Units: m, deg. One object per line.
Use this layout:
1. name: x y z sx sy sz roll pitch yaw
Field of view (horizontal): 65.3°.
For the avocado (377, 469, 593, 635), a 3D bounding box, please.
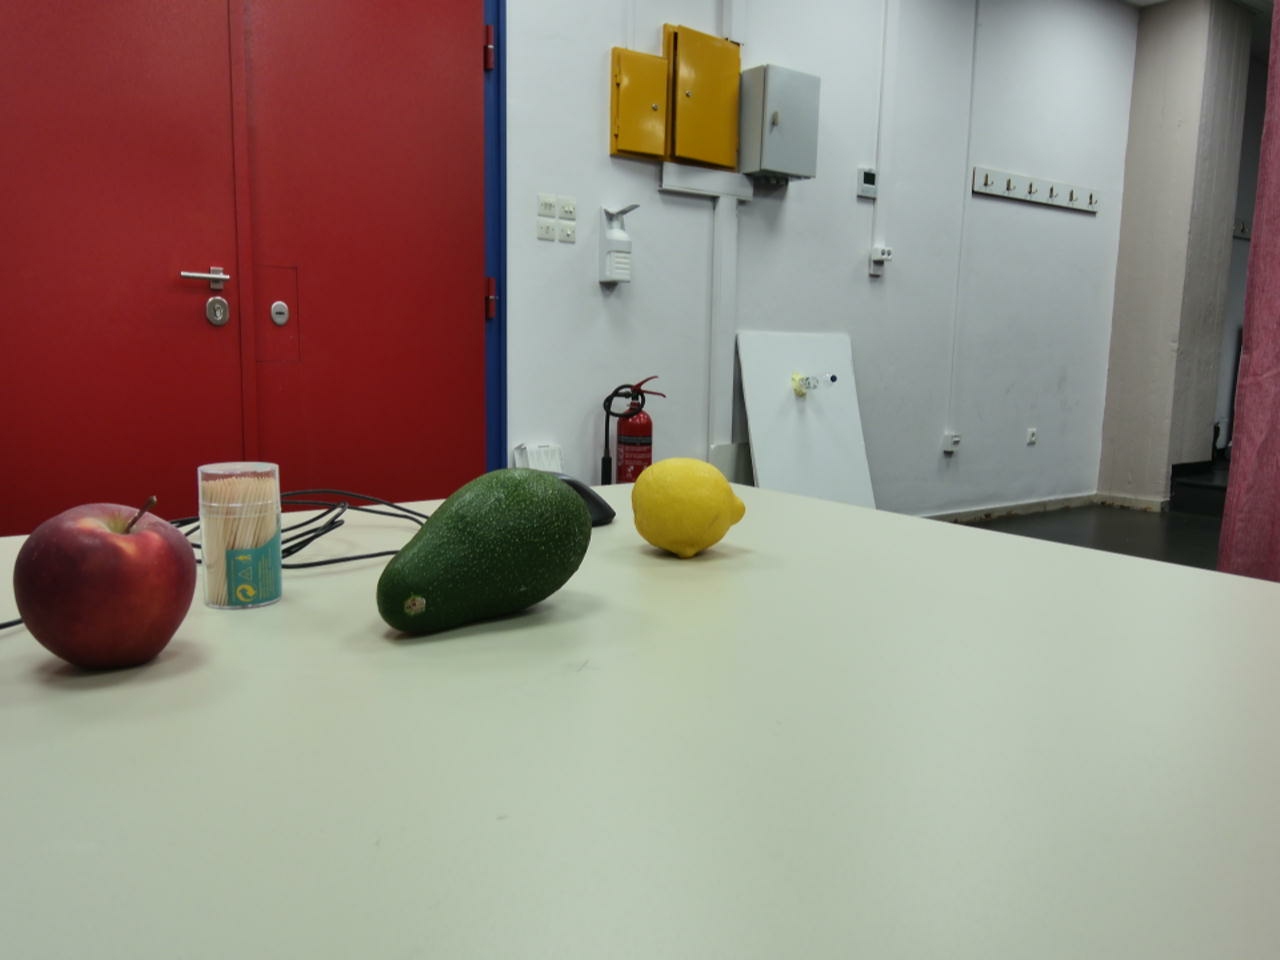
1. avocado: -0.082 0.032 0.518 0.123 0.076 0.074 -3 7 -31
